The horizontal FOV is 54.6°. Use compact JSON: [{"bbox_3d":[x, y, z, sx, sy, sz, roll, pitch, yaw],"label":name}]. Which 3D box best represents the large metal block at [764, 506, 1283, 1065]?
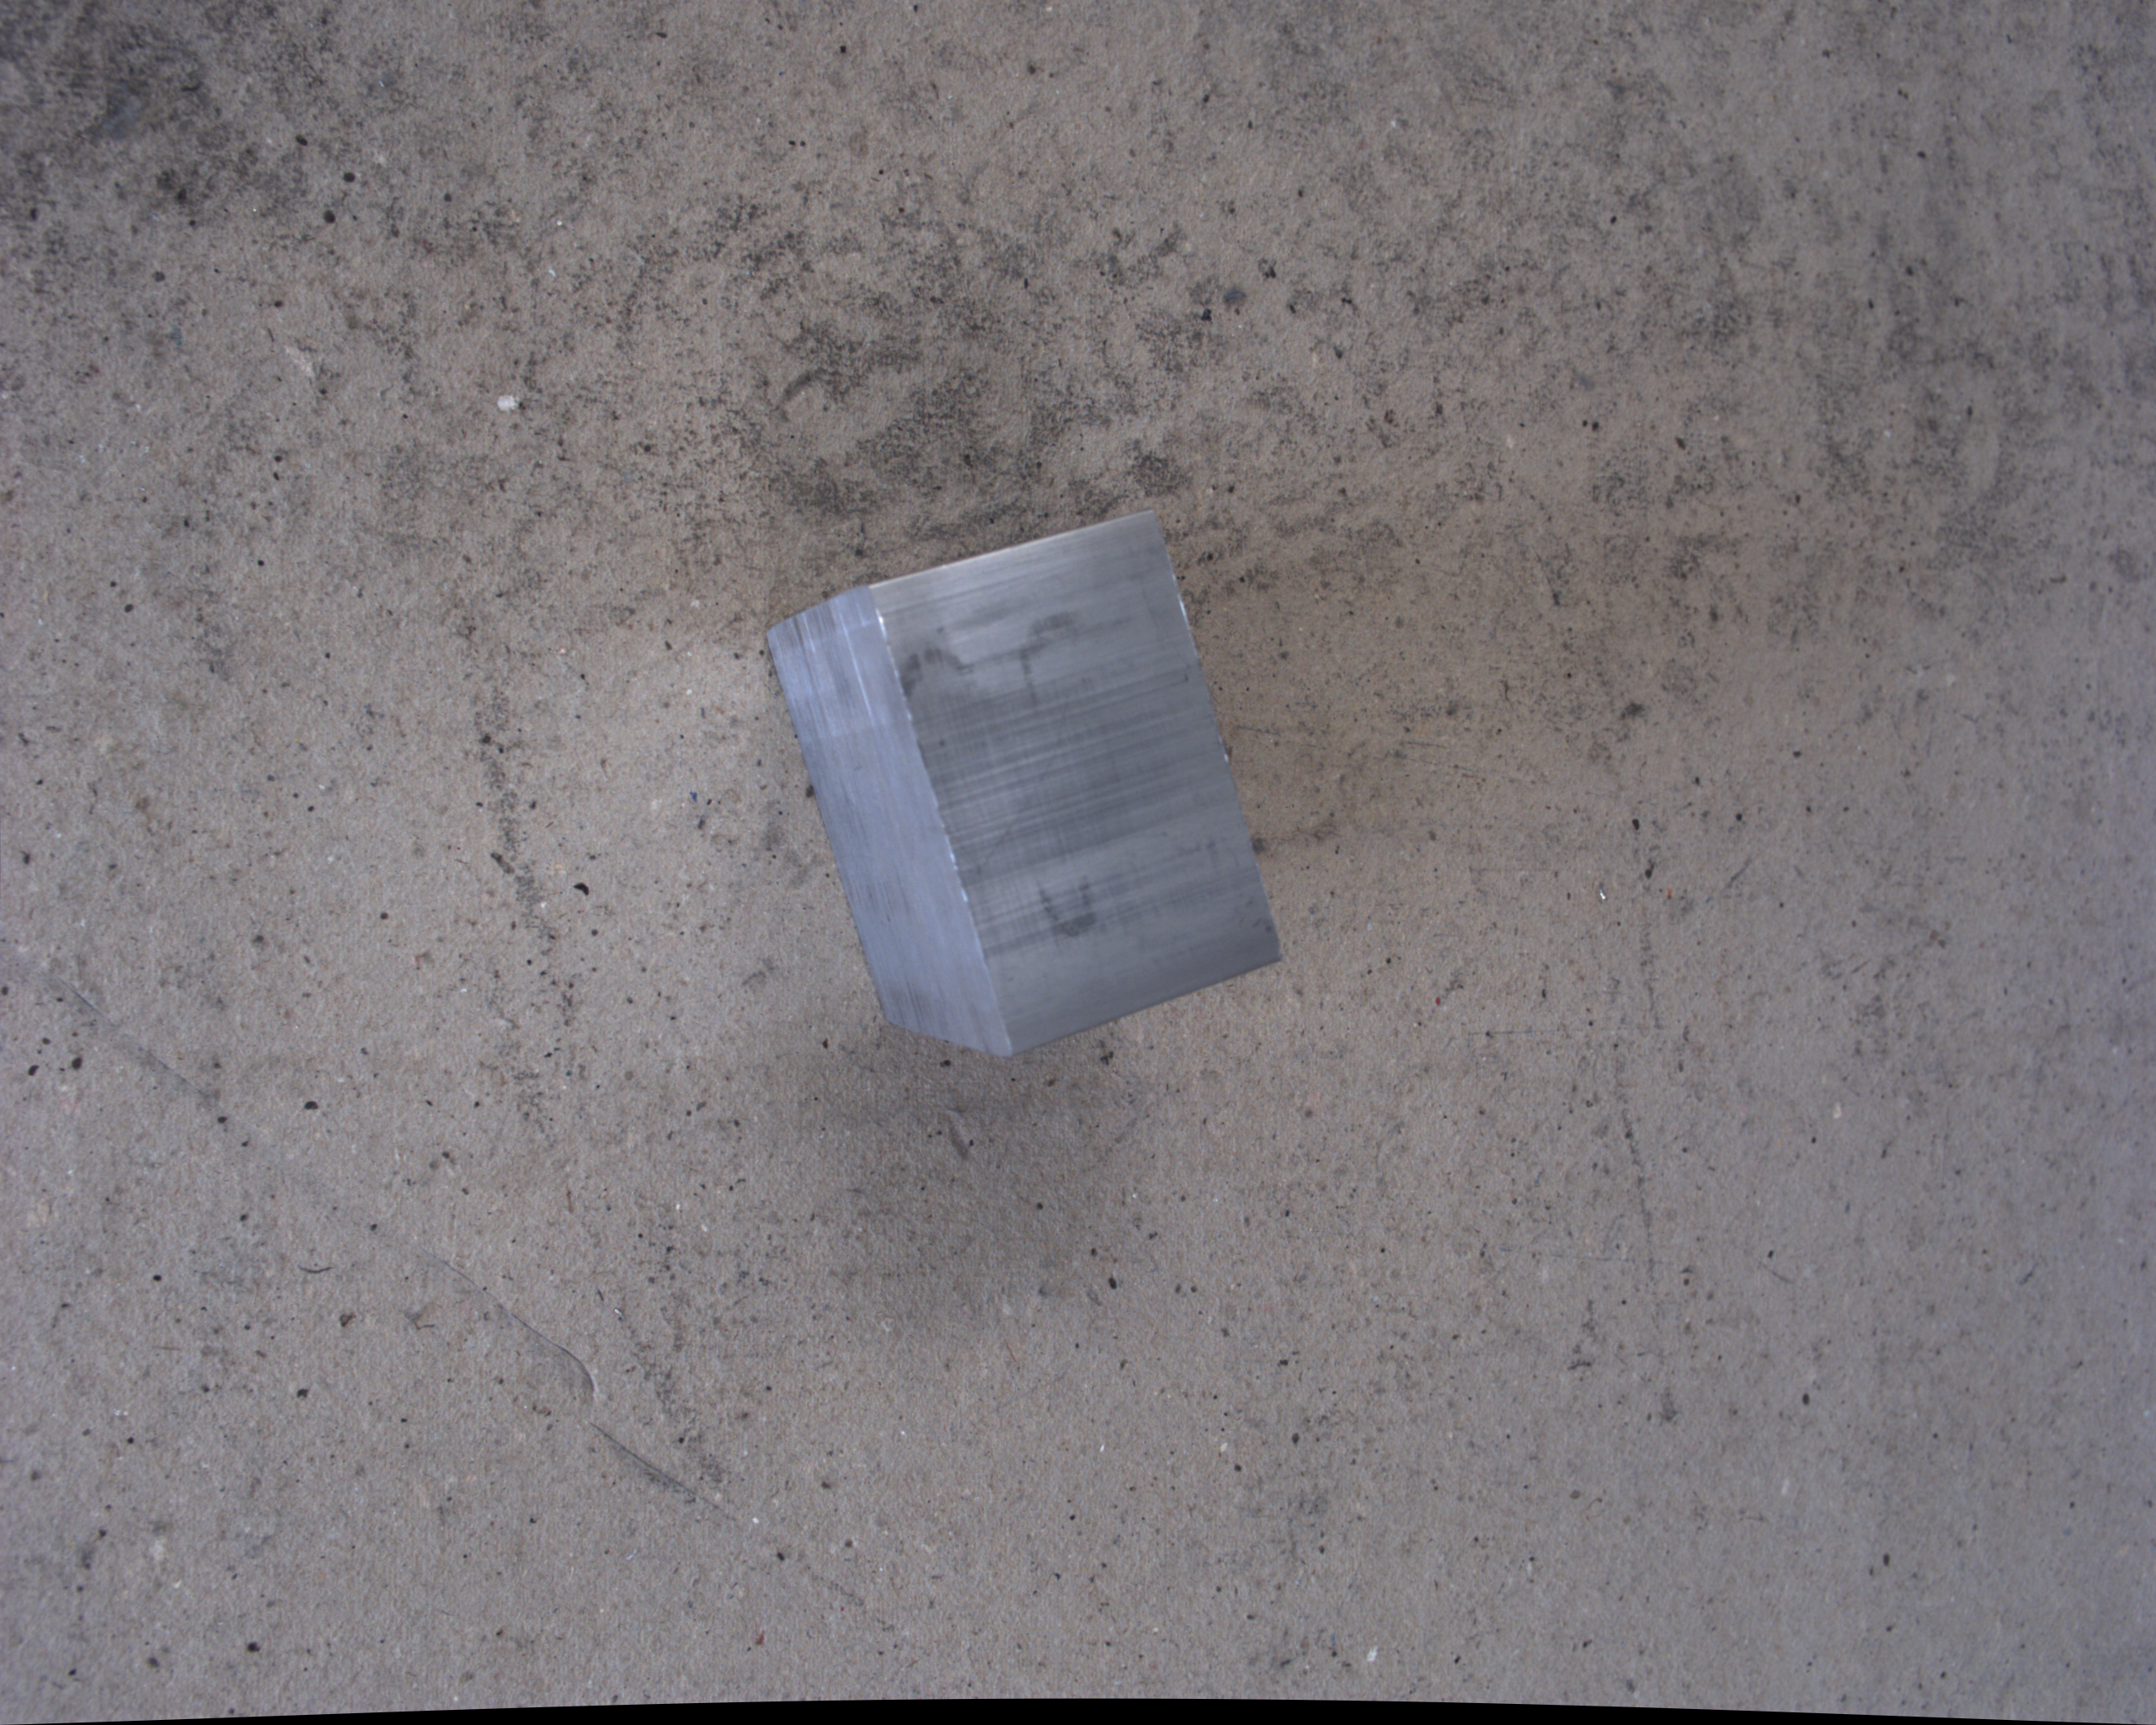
[{"bbox_3d":[-0.013,-0.013,0.375,0.050,0.080,0.080,-18,96,-19],"label":"large metal block"}]
